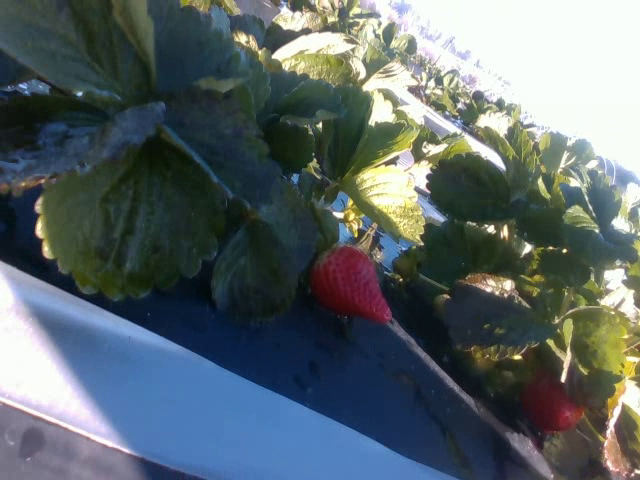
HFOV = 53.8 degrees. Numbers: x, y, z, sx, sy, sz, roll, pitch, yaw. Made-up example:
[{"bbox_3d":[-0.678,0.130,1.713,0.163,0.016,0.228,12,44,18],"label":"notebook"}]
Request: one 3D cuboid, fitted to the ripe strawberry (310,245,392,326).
[{"bbox_3d":[0.019,0.025,0.328,0.045,0.059,0.042,-28,-21,-26],"label":"ripe strawberry"}]
